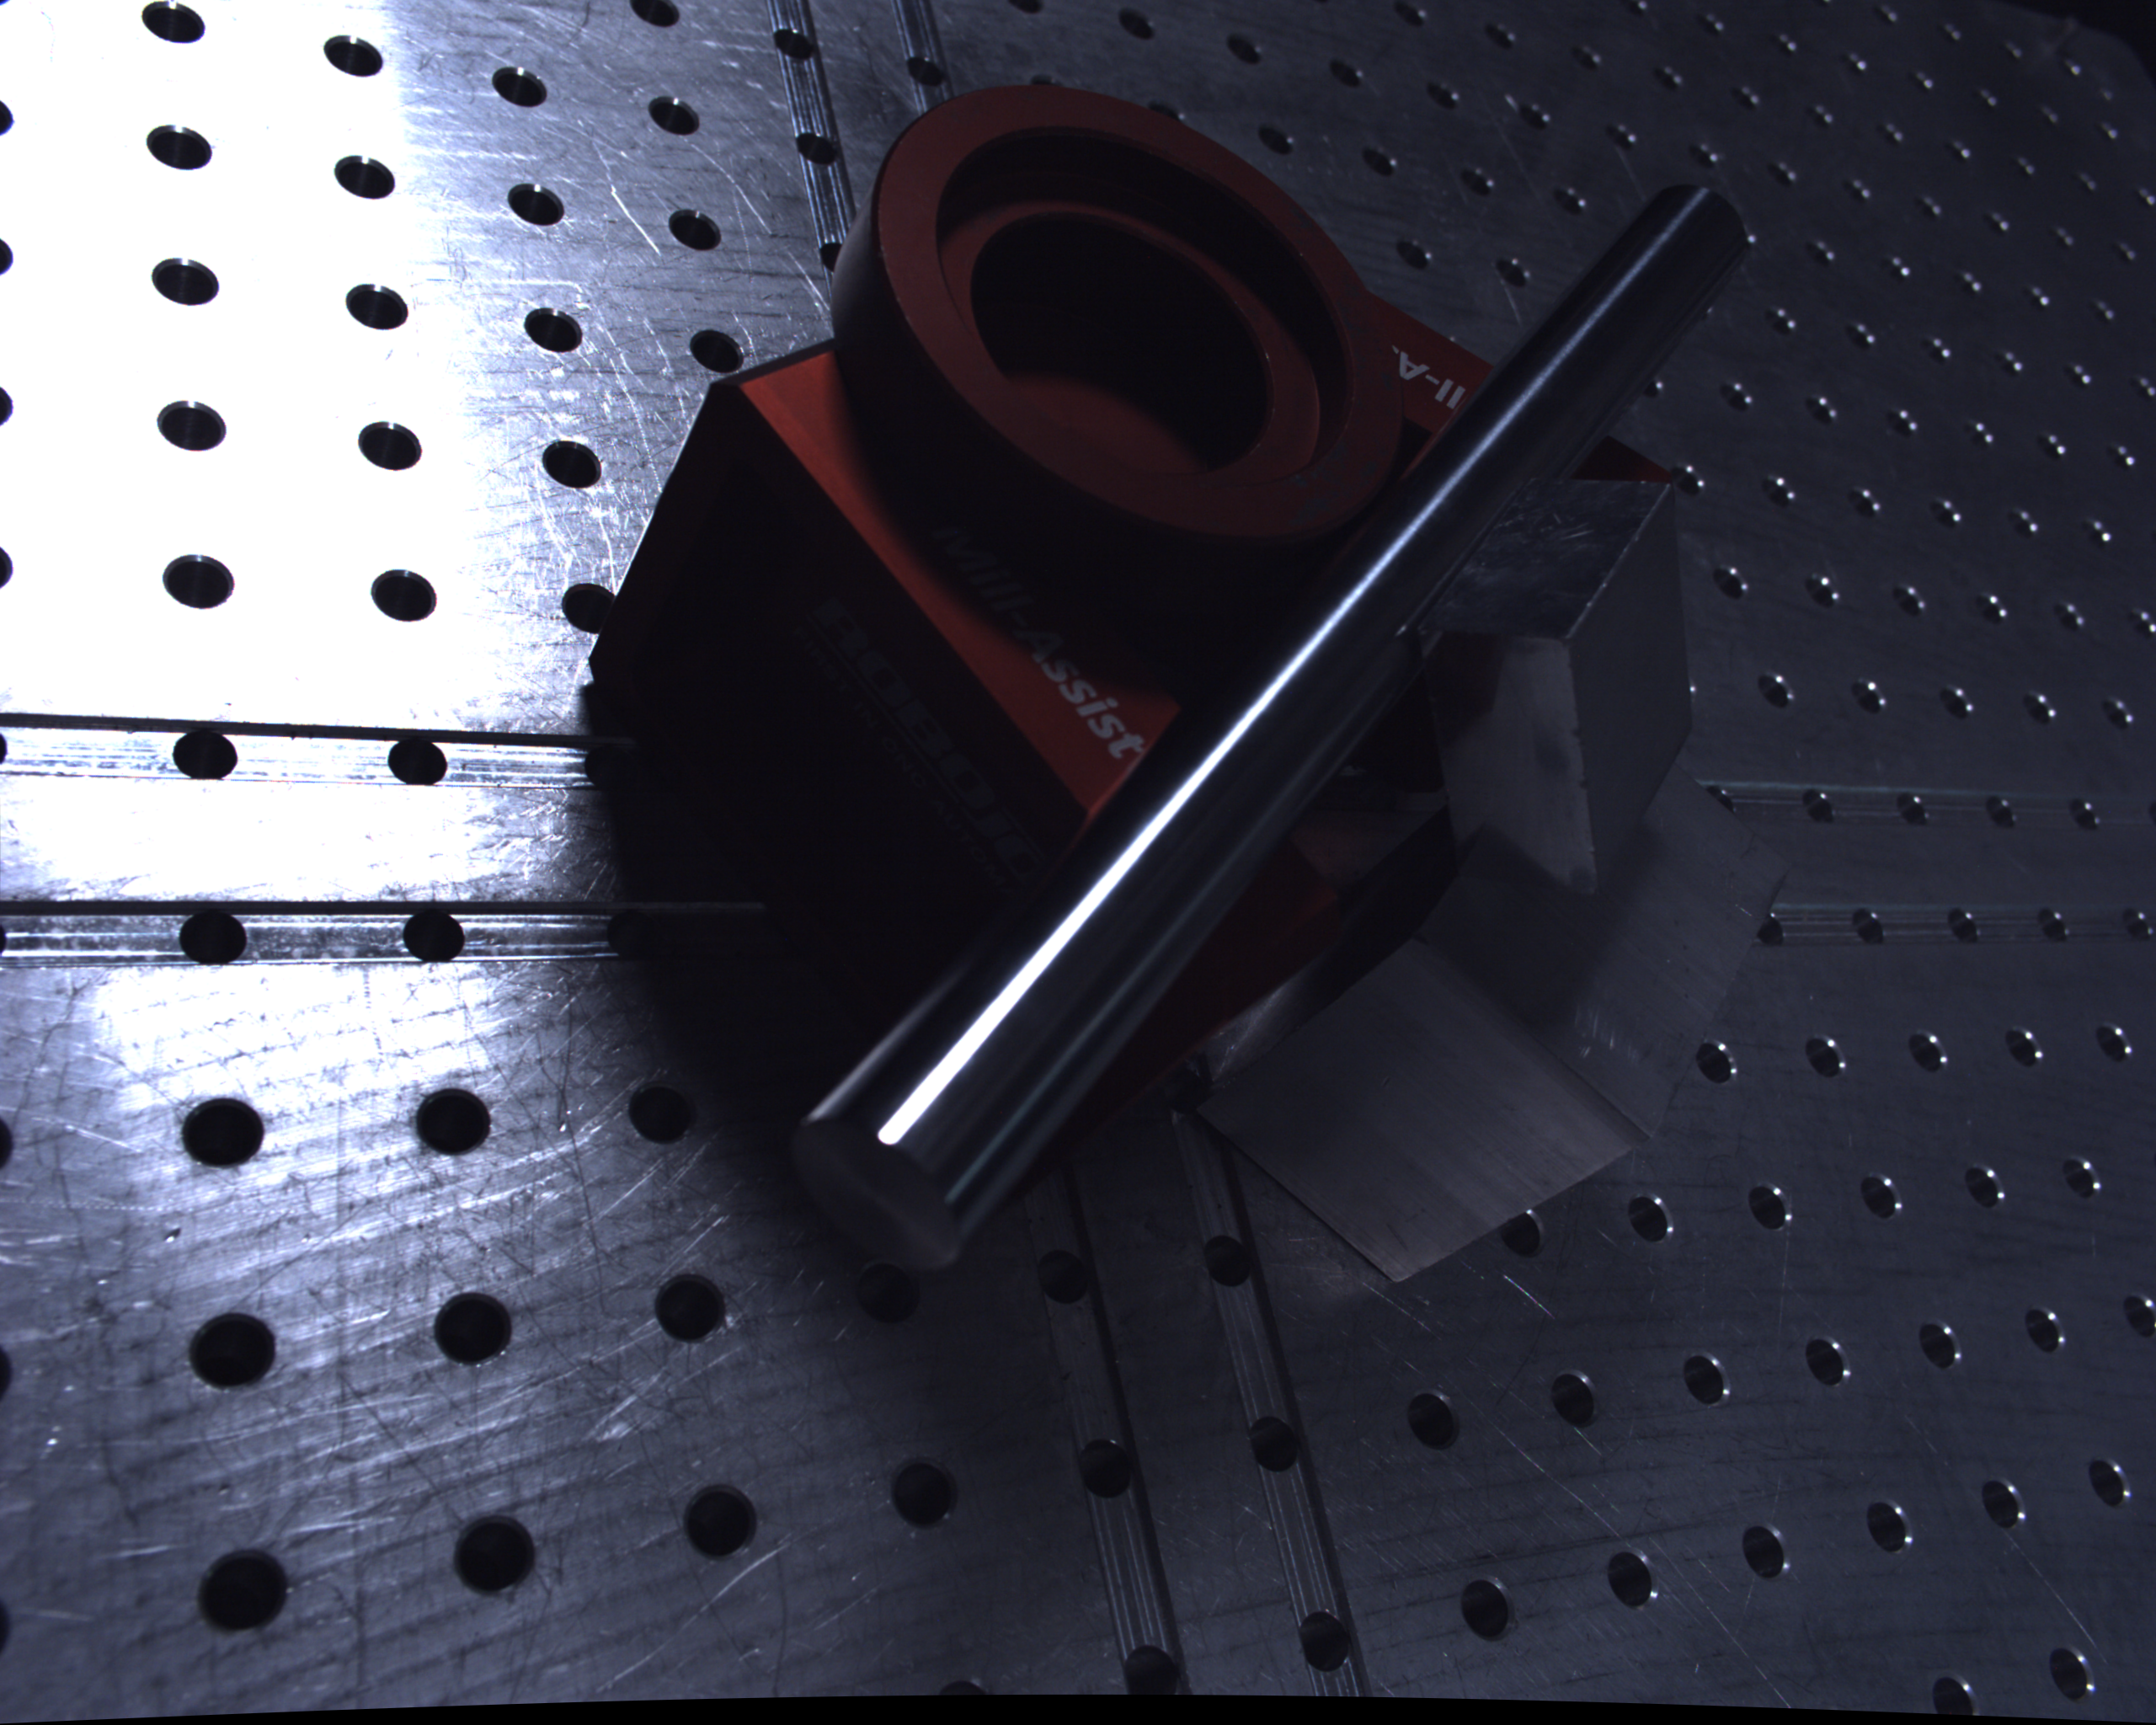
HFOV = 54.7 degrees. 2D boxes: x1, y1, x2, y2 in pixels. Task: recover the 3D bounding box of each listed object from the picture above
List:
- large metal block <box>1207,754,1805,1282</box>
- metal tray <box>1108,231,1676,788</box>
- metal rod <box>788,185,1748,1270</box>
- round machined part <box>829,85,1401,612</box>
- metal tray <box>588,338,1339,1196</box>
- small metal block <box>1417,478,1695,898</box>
[{"bbox_3d":[0.081,0.023,0.400,0.050,0.080,0.080,42,51,0],"label":"large metal block"},{"bbox_3d":[0.046,-0.075,0.438,0.131,0.090,0.030,28,53,-11],"label":"metal tray"},{"bbox_3d":[0.053,-0.046,0.350,0.025,0.025,0.301,42,51,0],"label":"metal rod"},{"bbox_3d":[0.003,-0.084,0.363,0.099,0.042,0.098,14,56,-21],"label":"round machined part"},{"bbox_3d":[-0.025,-0.014,0.362,0.030,0.090,0.130,-33,81,-38],"label":"metal tray"},{"bbox_3d":[0.082,-0.030,0.352,0.025,0.050,0.050,9,42,32],"label":"small metal block"}]
